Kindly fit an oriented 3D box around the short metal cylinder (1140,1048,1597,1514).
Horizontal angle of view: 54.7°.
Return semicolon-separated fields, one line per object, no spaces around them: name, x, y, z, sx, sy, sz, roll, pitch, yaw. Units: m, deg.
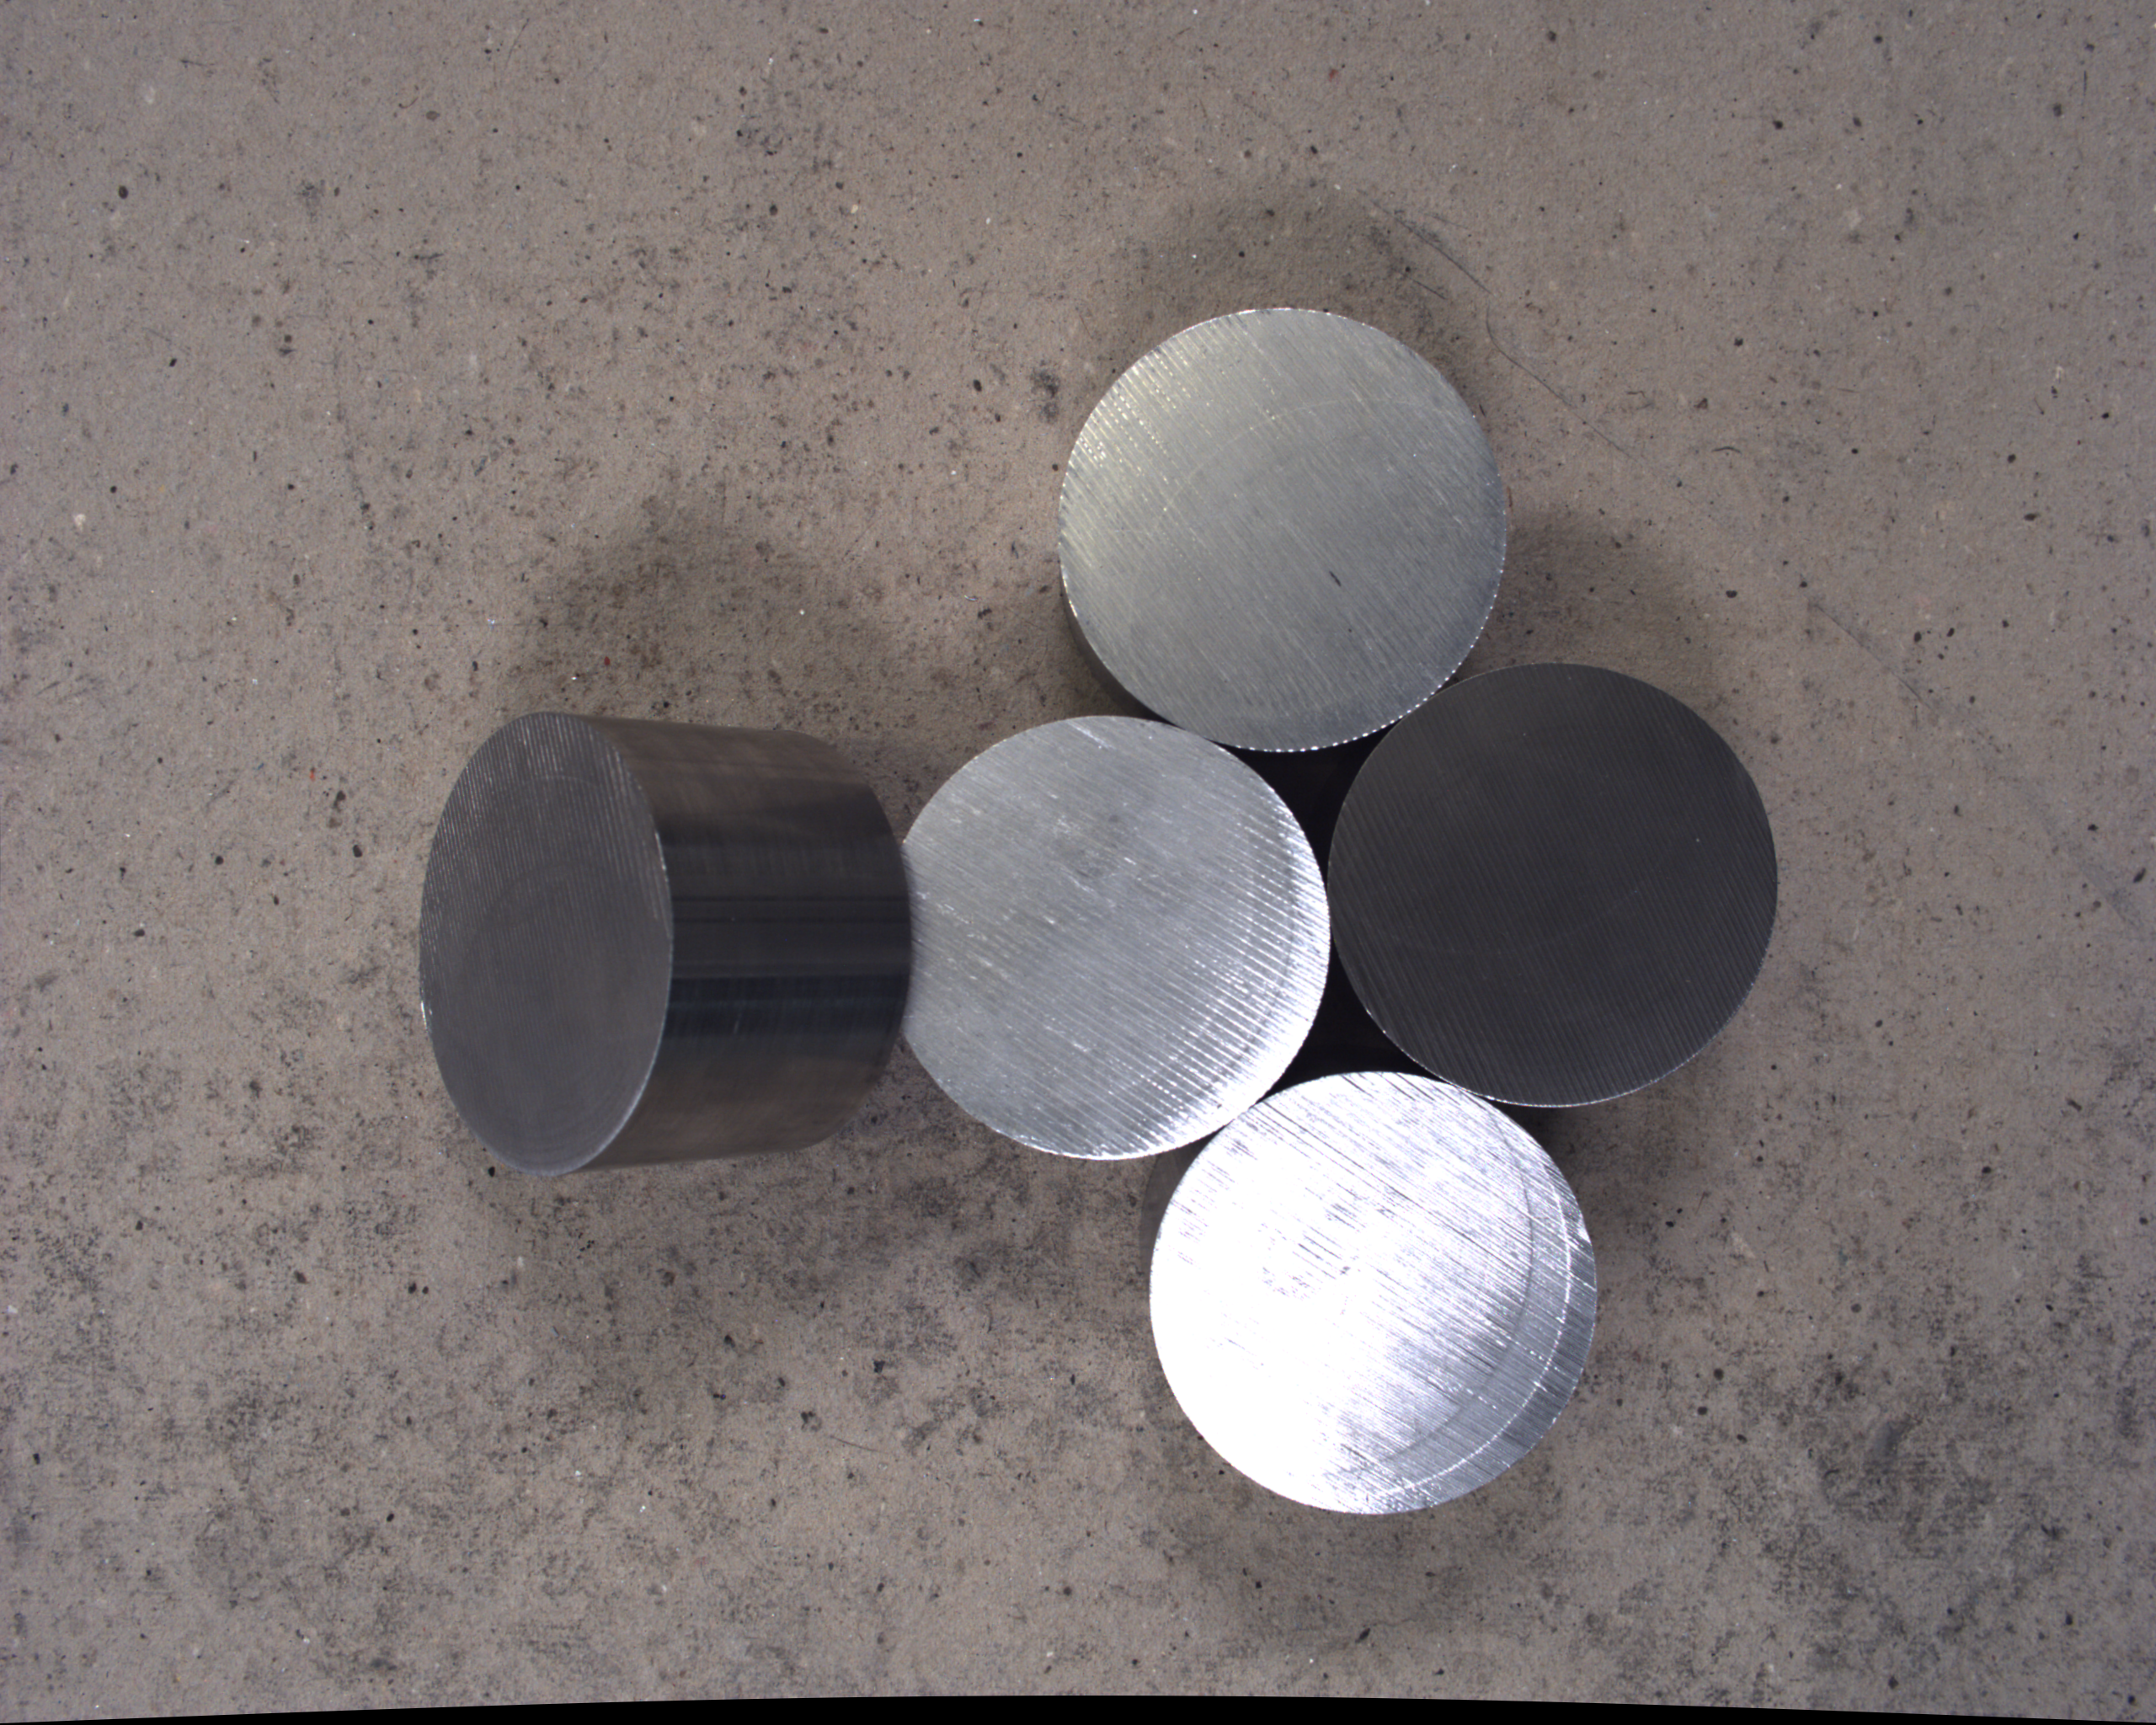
short metal cylinder;0.053;0.077;0.399;0.081;0.050;0.080;0;90;0

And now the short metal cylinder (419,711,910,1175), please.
short metal cylinder;-0.076;0.014;0.377;0.080;0.050;0.080;-2;88;44

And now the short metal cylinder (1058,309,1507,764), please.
short metal cylinder;0.037;-0.060;0.399;0.081;0.050;0.080;0;90;0

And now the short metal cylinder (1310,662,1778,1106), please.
short metal cylinder;0.085;0.004;0.399;0.081;0.050;0.080;0;90;0

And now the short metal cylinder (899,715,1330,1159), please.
short metal cylinder;0.005;0.013;0.398;0.081;0.050;0.080;0;90;0
